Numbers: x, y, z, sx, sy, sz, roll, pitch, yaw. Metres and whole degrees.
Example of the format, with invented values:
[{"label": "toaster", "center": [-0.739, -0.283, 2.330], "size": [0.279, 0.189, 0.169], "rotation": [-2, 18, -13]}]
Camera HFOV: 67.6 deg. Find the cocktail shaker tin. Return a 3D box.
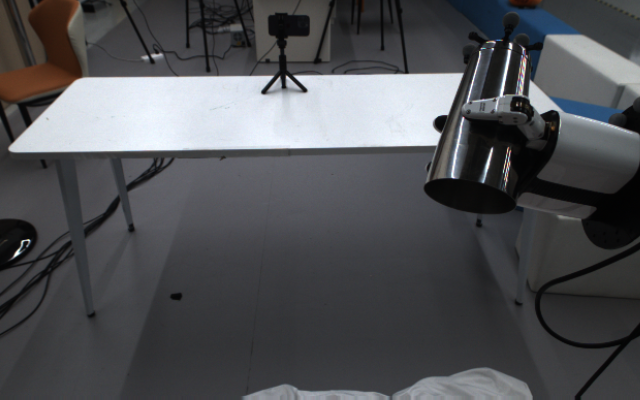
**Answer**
[{"label": "cocktail shaker tin", "center": [0.178, -0.080, 0.518], "size": [0.093, 0.093, 0.170], "rotation": [13, 74, 16]}]
